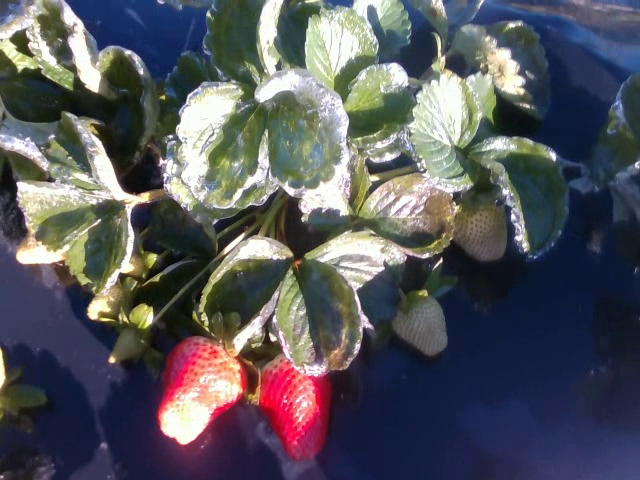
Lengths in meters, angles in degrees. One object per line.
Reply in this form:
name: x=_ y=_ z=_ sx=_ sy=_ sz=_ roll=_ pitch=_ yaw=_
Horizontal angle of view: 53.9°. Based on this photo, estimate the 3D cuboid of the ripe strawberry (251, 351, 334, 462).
ripe strawberry: x=-0.013 y=0.093 z=0.357 sx=0.043 sy=0.059 sz=0.040 roll=-22 pitch=-8 yaw=-6

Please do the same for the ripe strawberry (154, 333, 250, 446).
ripe strawberry: x=-0.067 y=0.091 z=0.362 sx=0.052 sy=0.070 sz=0.040 roll=25 pitch=-14 yaw=-9
